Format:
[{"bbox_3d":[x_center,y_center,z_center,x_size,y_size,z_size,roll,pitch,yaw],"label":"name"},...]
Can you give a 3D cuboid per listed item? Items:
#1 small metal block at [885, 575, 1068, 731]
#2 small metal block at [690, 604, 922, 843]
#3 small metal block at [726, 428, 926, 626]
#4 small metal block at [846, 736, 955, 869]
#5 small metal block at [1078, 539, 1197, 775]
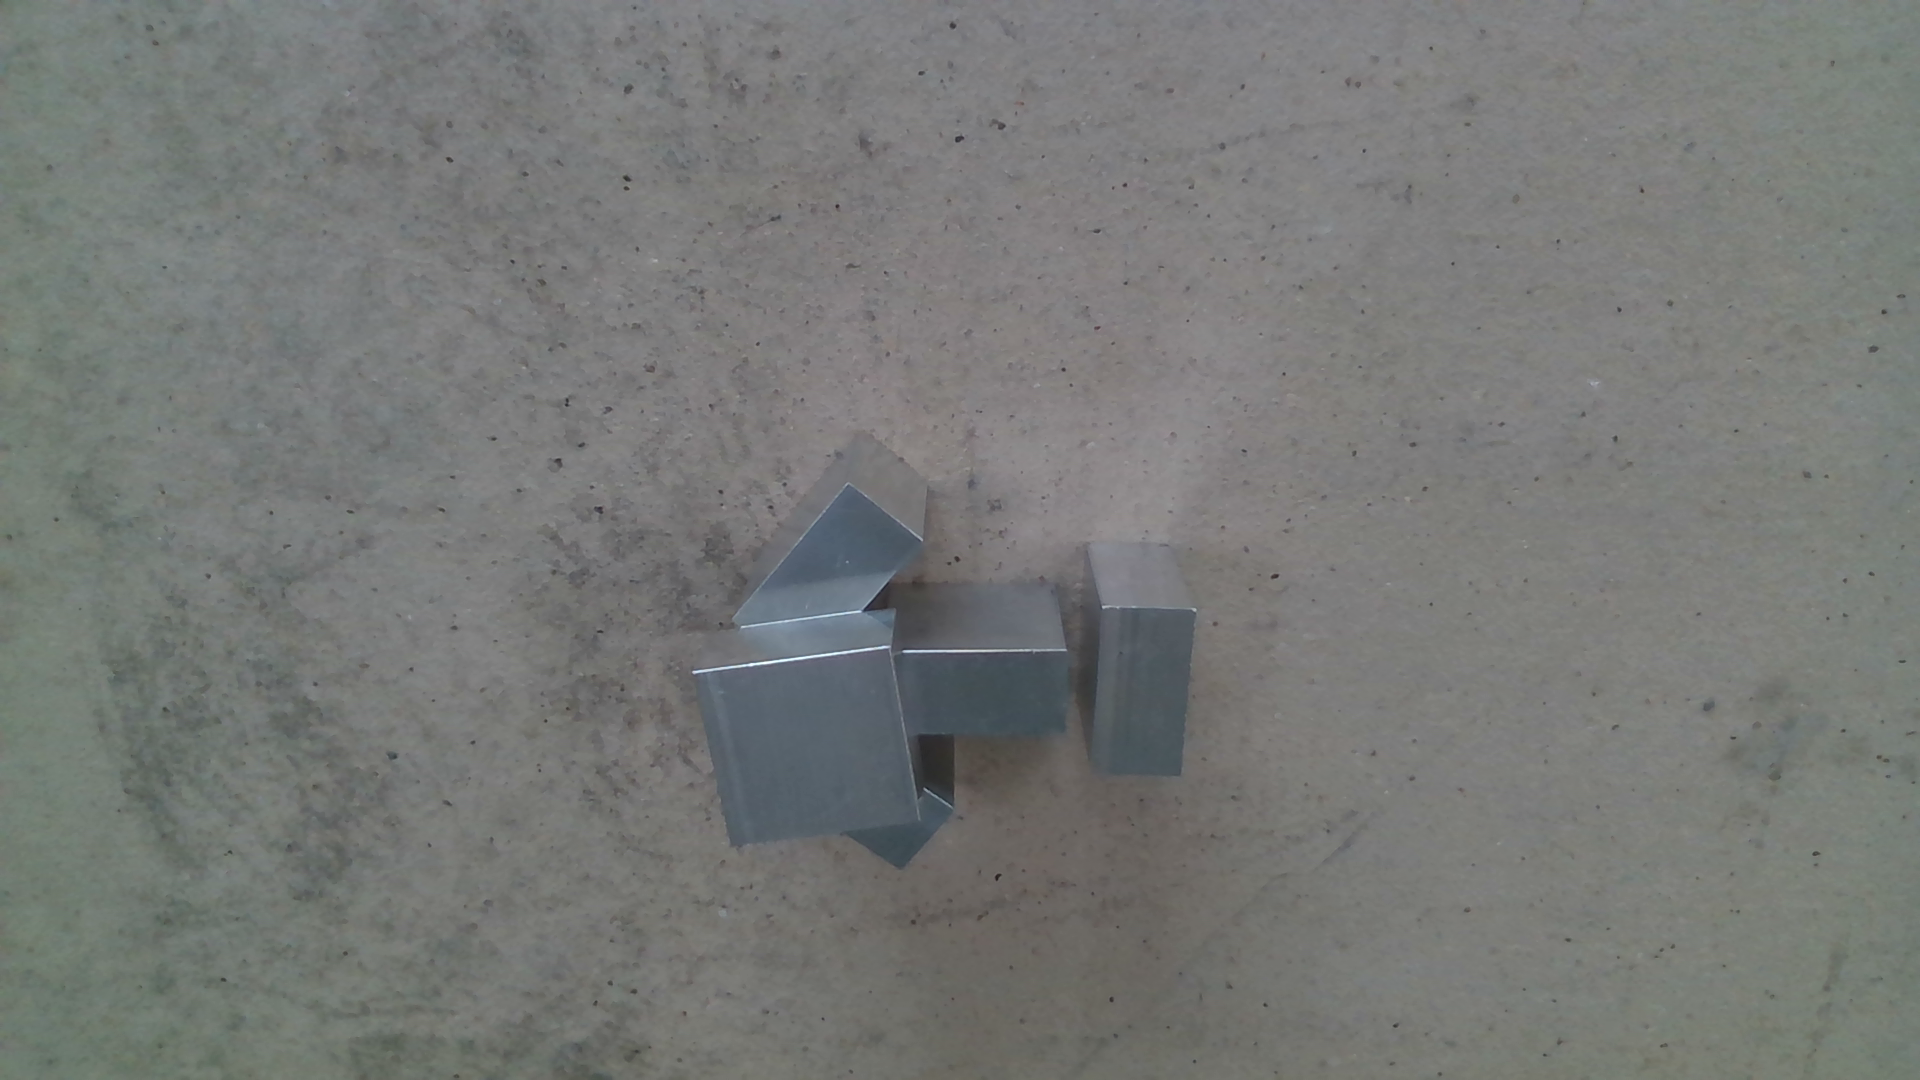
[{"bbox_3d":[0.004,0.031,0.393,0.050,0.050,0.025,-1,111,0],"label":"small metal block"},{"bbox_3d":[-0.038,0.048,0.359,0.050,0.025,0.050,-8,109,2],"label":"small metal block"},{"bbox_3d":[-0.036,0.001,0.380,0.025,0.050,0.050,38,107,-13],"label":"small metal block"},{"bbox_3d":[-0.029,0.061,0.403,0.050,0.050,0.025,35,106,-12],"label":"small metal block"},{"bbox_3d":[0.049,0.032,0.392,0.025,0.050,0.050,2,110,-1],"label":"small metal block"}]
